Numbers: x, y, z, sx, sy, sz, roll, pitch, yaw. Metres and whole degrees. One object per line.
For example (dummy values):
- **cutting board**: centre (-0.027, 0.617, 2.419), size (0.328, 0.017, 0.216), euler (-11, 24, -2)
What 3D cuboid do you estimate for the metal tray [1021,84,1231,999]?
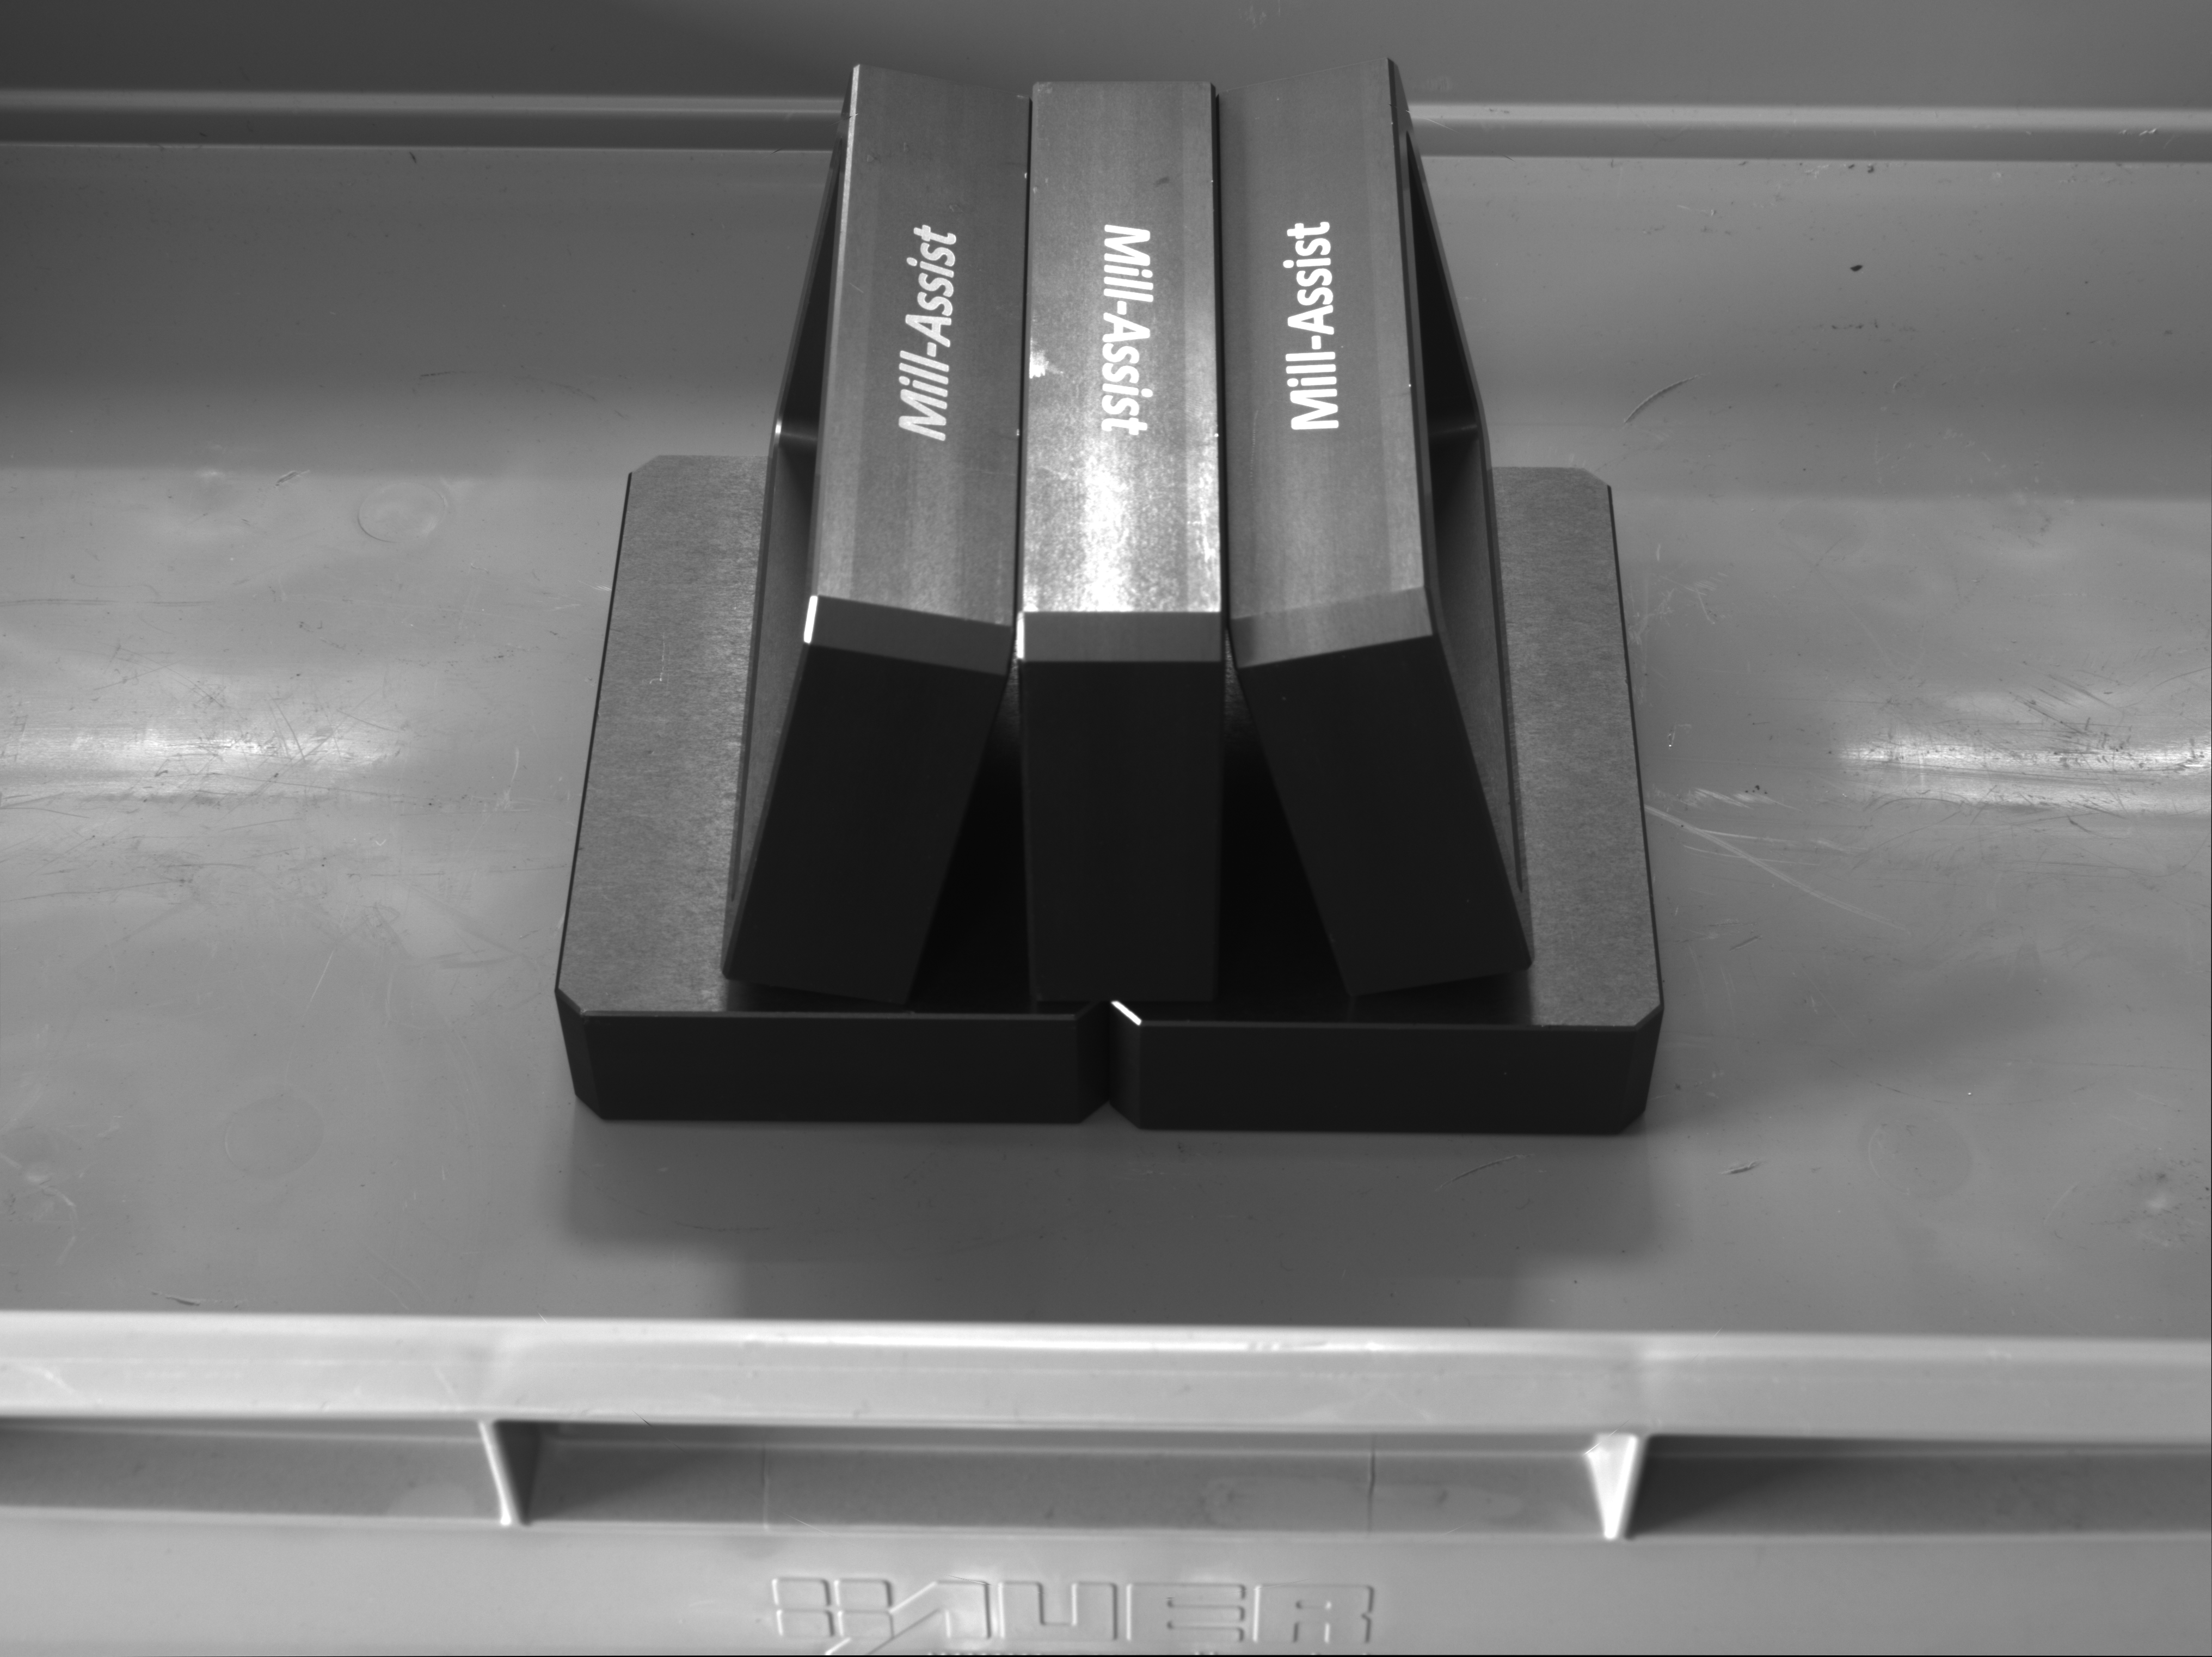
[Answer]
- **metal tray**: centre (0.003, -0.048, 0.597), size (0.030, 0.090, 0.130), euler (0, 48, 0)

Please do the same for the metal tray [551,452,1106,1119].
- **metal tray**: centre (-0.044, -0.010, 0.645), size (0.090, 0.030, 0.130), euler (1, 50, 0)

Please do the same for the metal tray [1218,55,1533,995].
- **metal tray**: centre (0.044, -0.050, 0.598), size (0.030, 0.090, 0.130), euler (-9, 49, 11)

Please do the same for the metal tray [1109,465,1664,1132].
- **metal tray**: centre (0.046, -0.008, 0.644), size (0.090, 0.030, 0.130), euler (1, 50, 0)

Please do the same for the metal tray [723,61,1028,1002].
- **metal tray**: centre (-0.037, -0.049, 0.596), size (0.030, 0.090, 0.130), euler (8, 49, -9)
